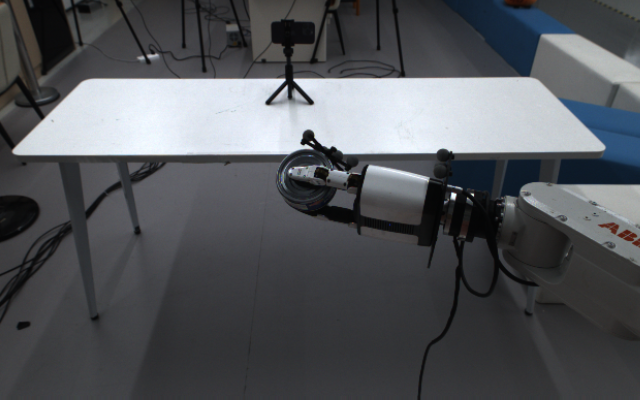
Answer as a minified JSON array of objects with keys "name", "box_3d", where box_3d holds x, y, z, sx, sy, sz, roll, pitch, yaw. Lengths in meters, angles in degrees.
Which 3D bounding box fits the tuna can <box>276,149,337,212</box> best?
[{"name":"tuna can","box_3d":[-0.018,-0.030,0.690,0.085,0.034,0.085,-4,69,10]}]
